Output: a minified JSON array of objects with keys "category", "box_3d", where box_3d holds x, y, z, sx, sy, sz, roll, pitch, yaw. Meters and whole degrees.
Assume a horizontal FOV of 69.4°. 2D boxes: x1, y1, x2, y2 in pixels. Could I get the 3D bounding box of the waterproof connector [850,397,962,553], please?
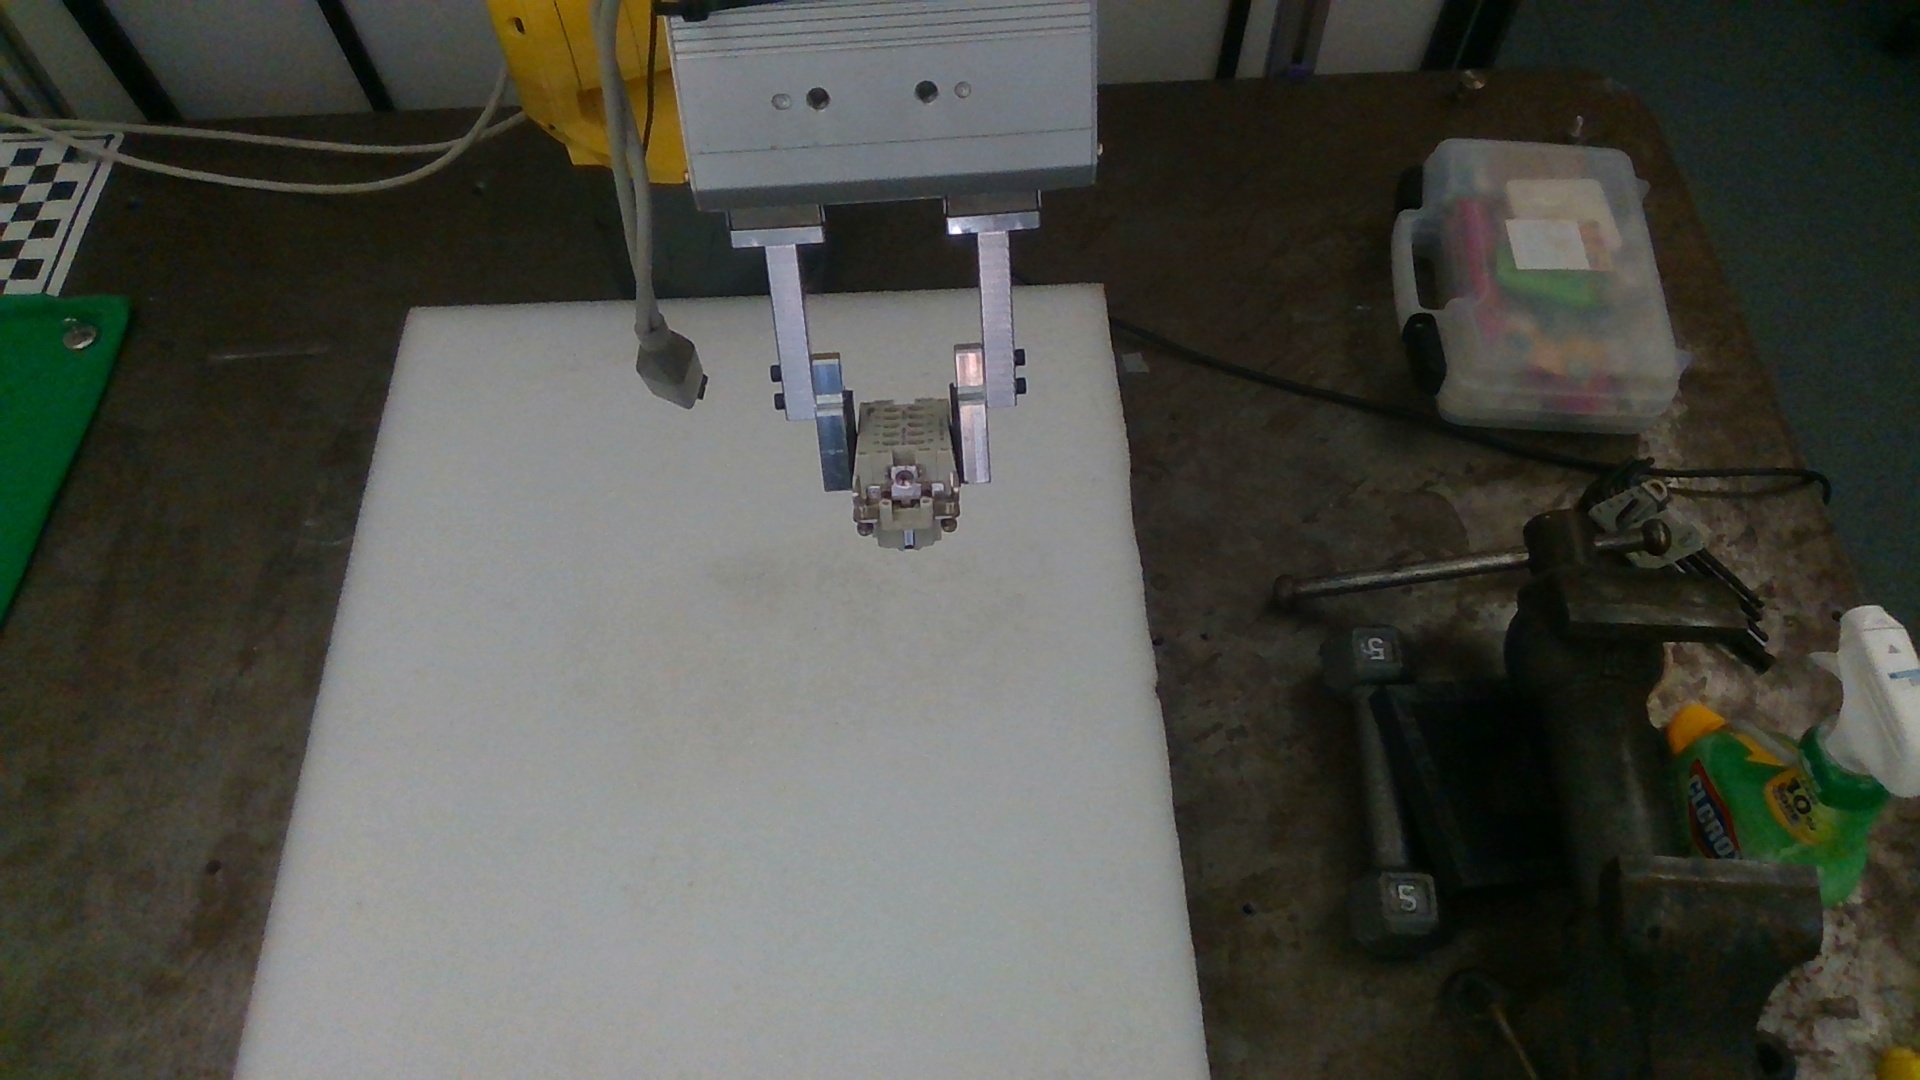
[{"category":"waterproof connector","box_3d":[-0.019,-0.023,0.477,0.037,0.038,0.069,-1,26,-4]}]
